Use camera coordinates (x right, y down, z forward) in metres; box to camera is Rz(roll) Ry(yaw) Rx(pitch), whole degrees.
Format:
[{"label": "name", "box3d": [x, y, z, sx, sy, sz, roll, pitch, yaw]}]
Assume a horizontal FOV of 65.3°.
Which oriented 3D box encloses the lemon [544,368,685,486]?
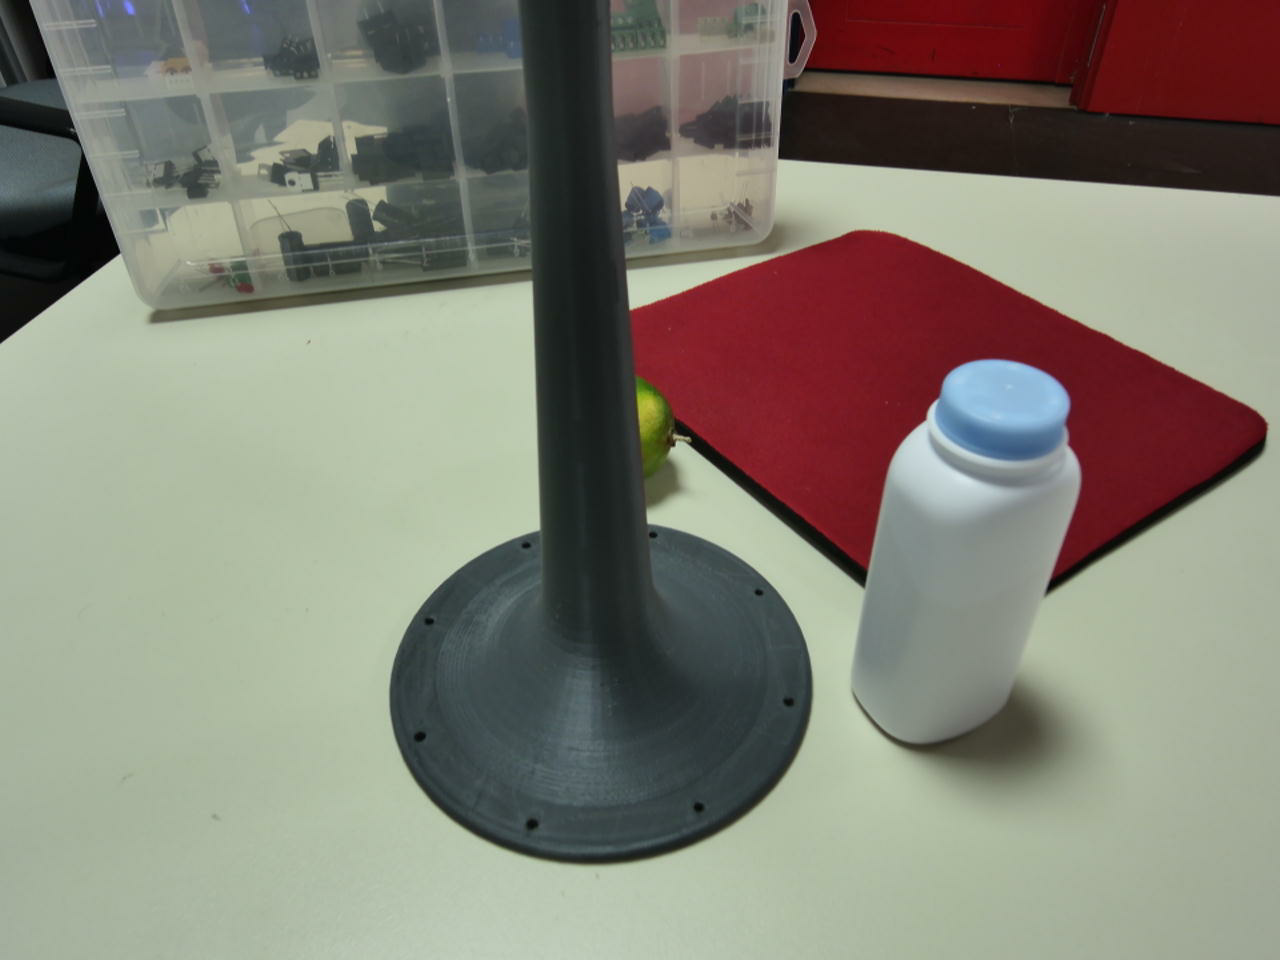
[{"label": "lemon", "box3d": [-0.014, -0.023, 0.434, 0.054, 0.050, 0.055, -17, 41, -20]}]
